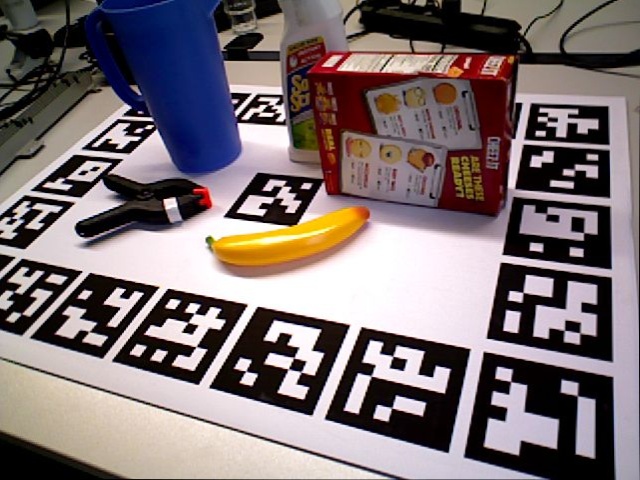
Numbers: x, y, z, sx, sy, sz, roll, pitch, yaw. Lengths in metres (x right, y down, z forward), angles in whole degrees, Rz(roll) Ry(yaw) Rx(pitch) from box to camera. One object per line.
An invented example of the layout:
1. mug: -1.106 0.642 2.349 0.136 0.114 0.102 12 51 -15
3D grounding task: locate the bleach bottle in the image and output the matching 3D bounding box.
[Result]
1. bleach bottle: -0.007 -0.209 0.687 0.103 0.255 0.066 8 41 20

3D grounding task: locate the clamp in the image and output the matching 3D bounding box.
1. clamp: -0.215 -0.041 0.701 0.165 0.037 0.119 -3 38 7

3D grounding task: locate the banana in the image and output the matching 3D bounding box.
1. banana: -0.017 0.006 0.611 0.196 0.039 0.073 -15 39 -5

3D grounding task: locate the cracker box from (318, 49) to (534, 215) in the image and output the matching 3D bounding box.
1. cracker box: 0.115 -0.123 0.599 0.215 0.167 0.070 7 39 23

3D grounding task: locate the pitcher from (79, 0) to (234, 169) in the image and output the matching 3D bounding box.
1. pitcher: -0.197 -0.221 0.715 0.188 0.247 0.131 -3 39 4
